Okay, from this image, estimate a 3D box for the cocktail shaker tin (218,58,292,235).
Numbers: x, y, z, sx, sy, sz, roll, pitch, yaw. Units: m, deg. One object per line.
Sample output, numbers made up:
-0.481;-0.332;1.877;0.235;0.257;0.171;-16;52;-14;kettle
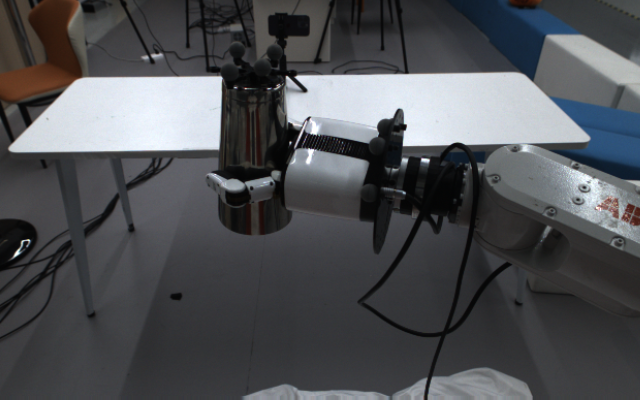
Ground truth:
-0.071;-0.055;0.550;0.093;0.170;0.093;3;34;-2;cocktail shaker tin
